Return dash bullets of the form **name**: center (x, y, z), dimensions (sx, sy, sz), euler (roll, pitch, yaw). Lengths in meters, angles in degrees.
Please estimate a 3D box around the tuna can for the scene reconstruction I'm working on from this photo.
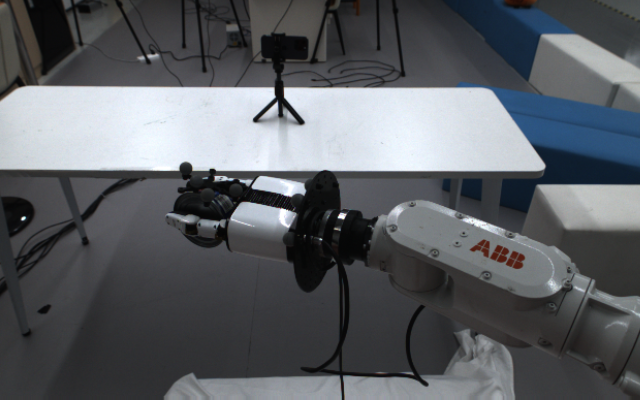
- **tuna can**: center (-0.156, 0.022, 0.671), dimensions (0.085, 0.085, 0.034), euler (16, 28, 19)
